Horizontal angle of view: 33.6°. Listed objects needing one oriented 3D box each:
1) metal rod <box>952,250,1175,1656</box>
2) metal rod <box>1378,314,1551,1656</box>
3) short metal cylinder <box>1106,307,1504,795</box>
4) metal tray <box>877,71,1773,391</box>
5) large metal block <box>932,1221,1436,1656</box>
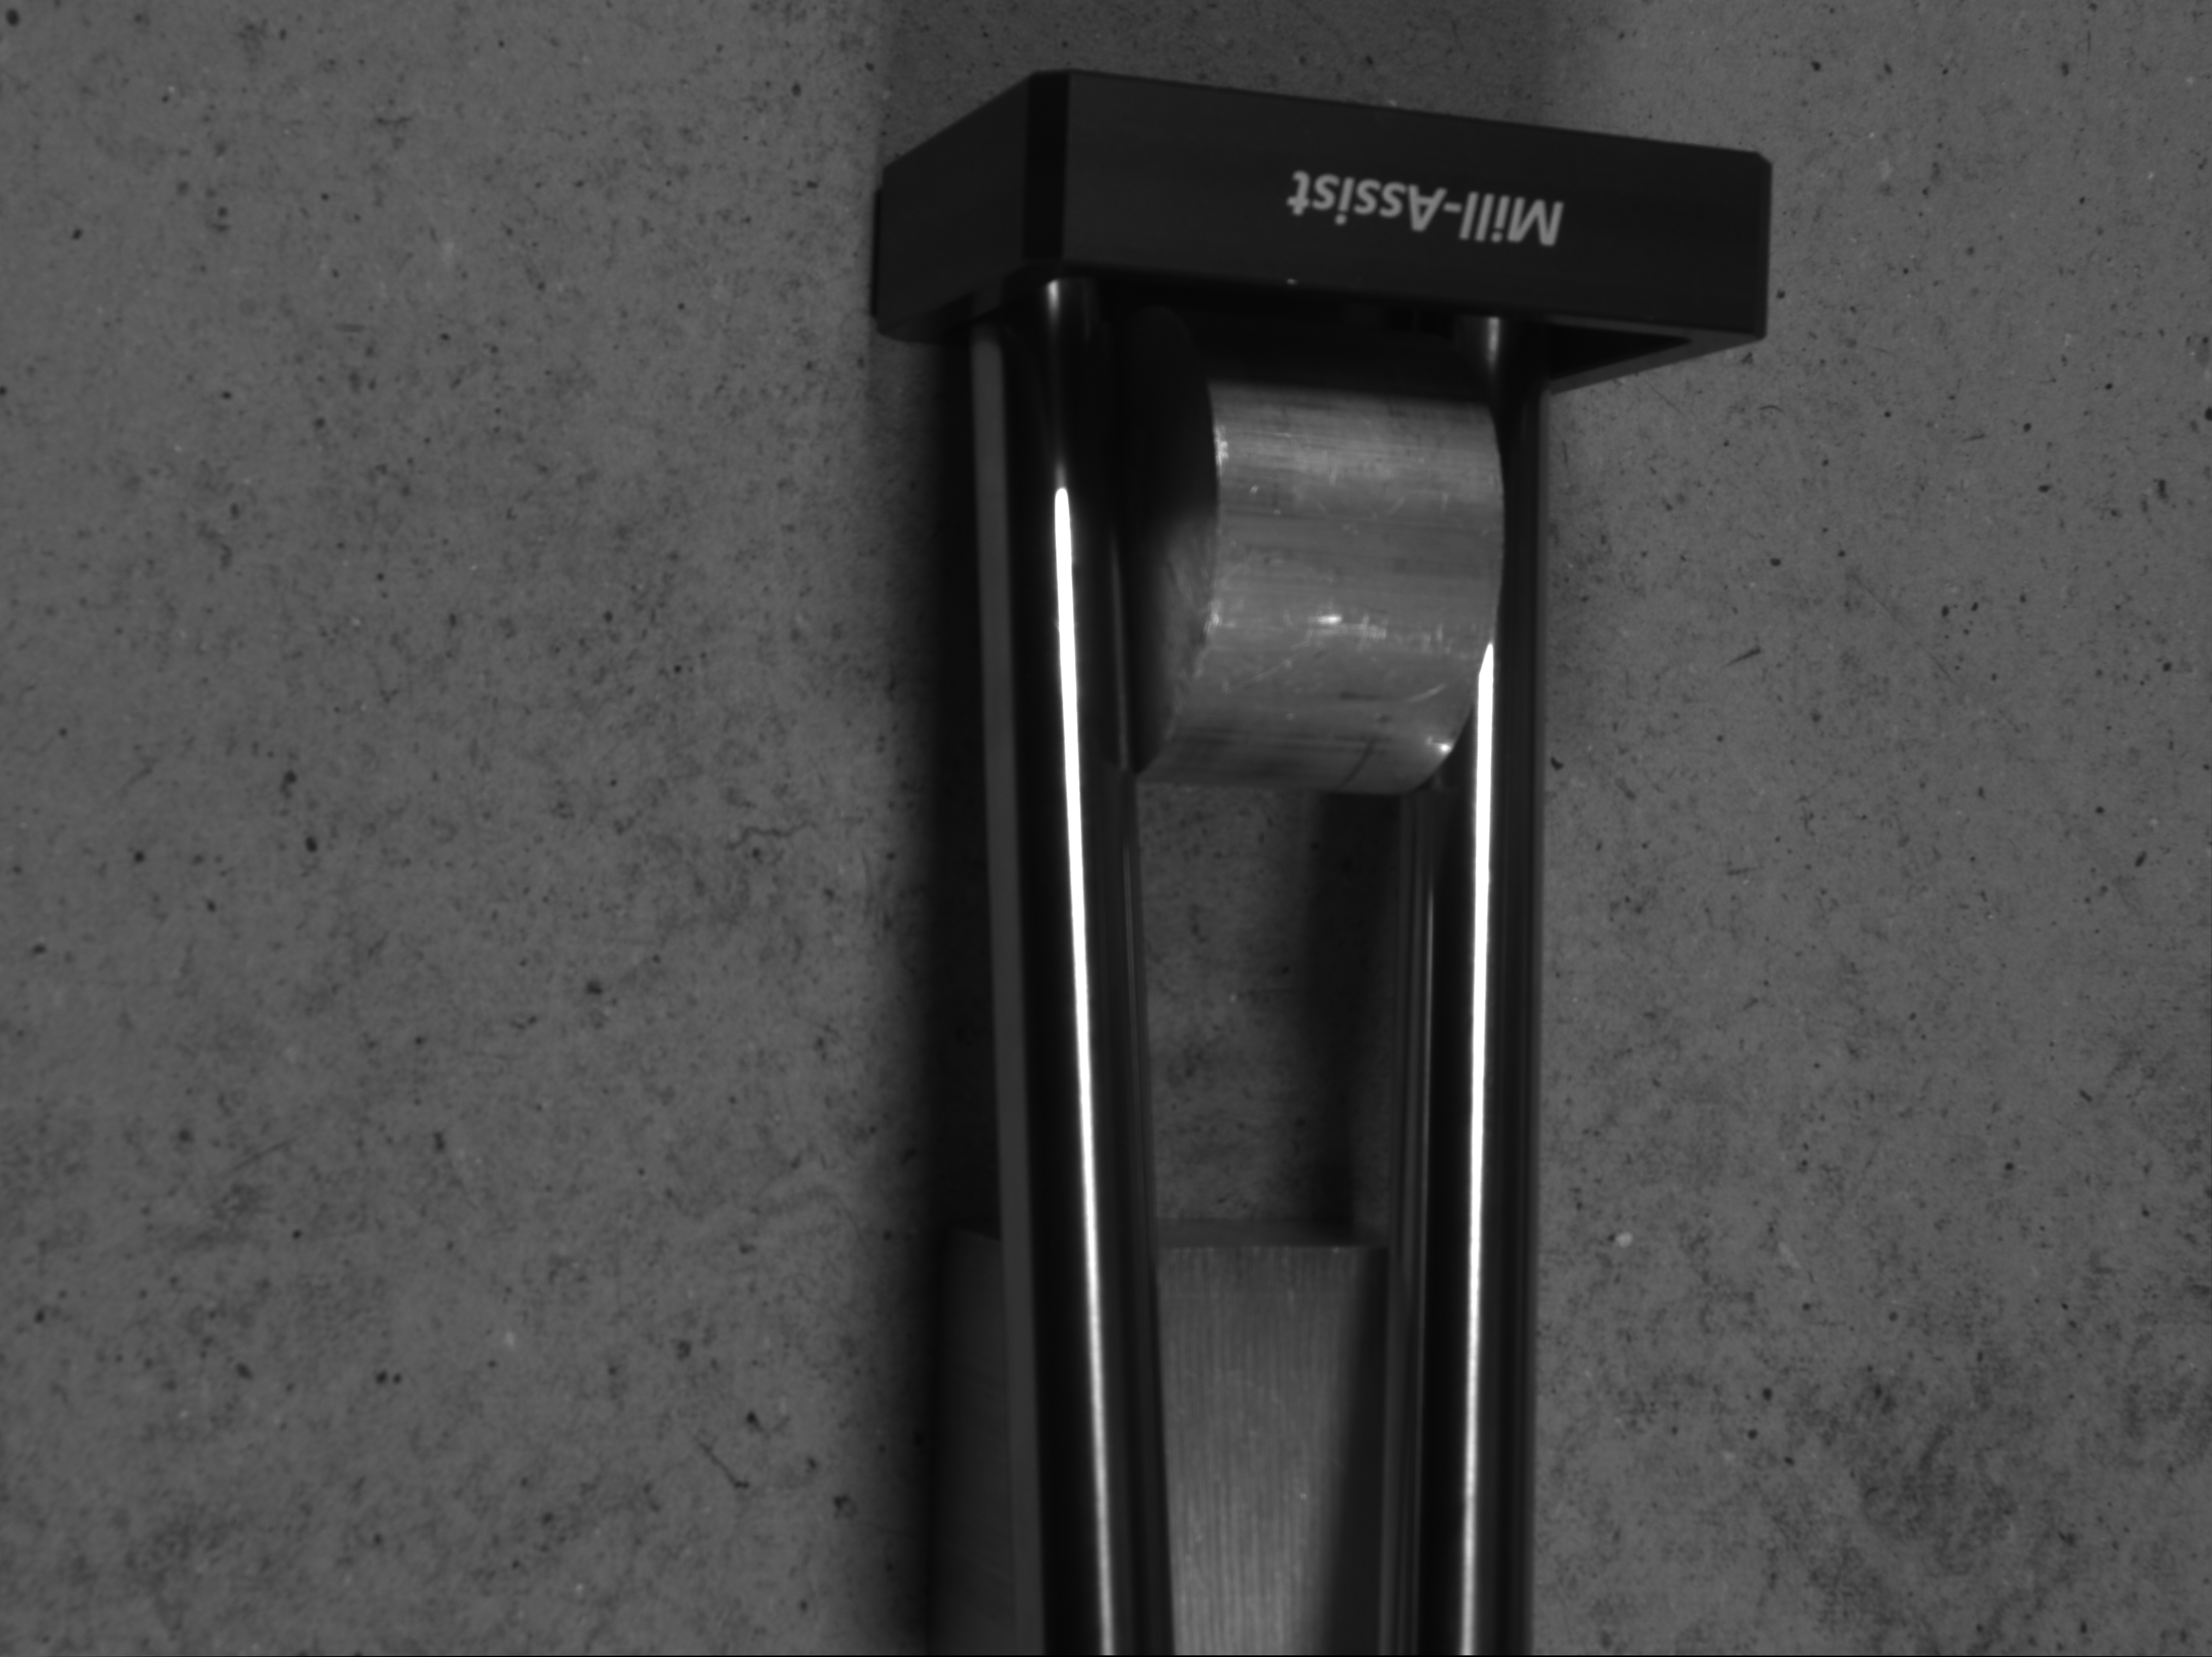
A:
[{"bbox_3d":[-0.006,0.046,0.593,0.025,0.025,0.300,2,74,-20],"label":"metal rod"},{"bbox_3d":[0.061,0.050,0.616,0.025,0.025,0.300,9,72,-20],"label":"metal rod"},{"bbox_3d":[0.027,-0.047,0.625,0.050,0.080,0.080,2,89,-20],"label":"short metal cylinder"},{"bbox_3d":[0.035,-0.098,0.622,0.130,0.090,0.030,3,89,-20],"label":"metal tray"},{"bbox_3d":[0.016,0.110,0.634,0.080,0.050,0.080,2,89,-20],"label":"large metal block"}]
